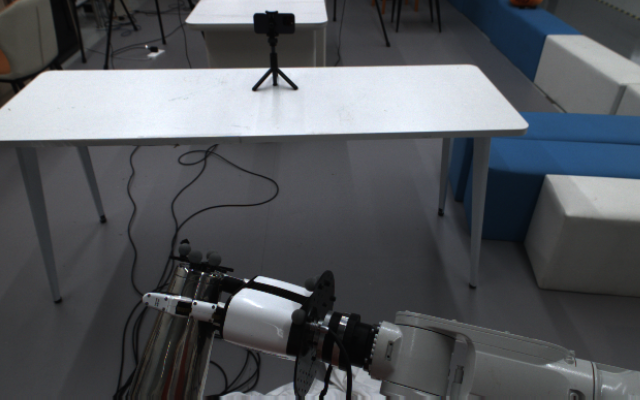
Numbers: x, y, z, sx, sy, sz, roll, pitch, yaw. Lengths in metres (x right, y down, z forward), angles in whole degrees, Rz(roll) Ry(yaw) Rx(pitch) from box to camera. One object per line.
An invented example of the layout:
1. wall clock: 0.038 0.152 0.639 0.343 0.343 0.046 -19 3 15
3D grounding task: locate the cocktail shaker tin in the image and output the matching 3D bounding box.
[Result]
1. cocktail shaker tin: -0.180 0.173 0.636 0.093 0.170 0.093 15 -5 1
